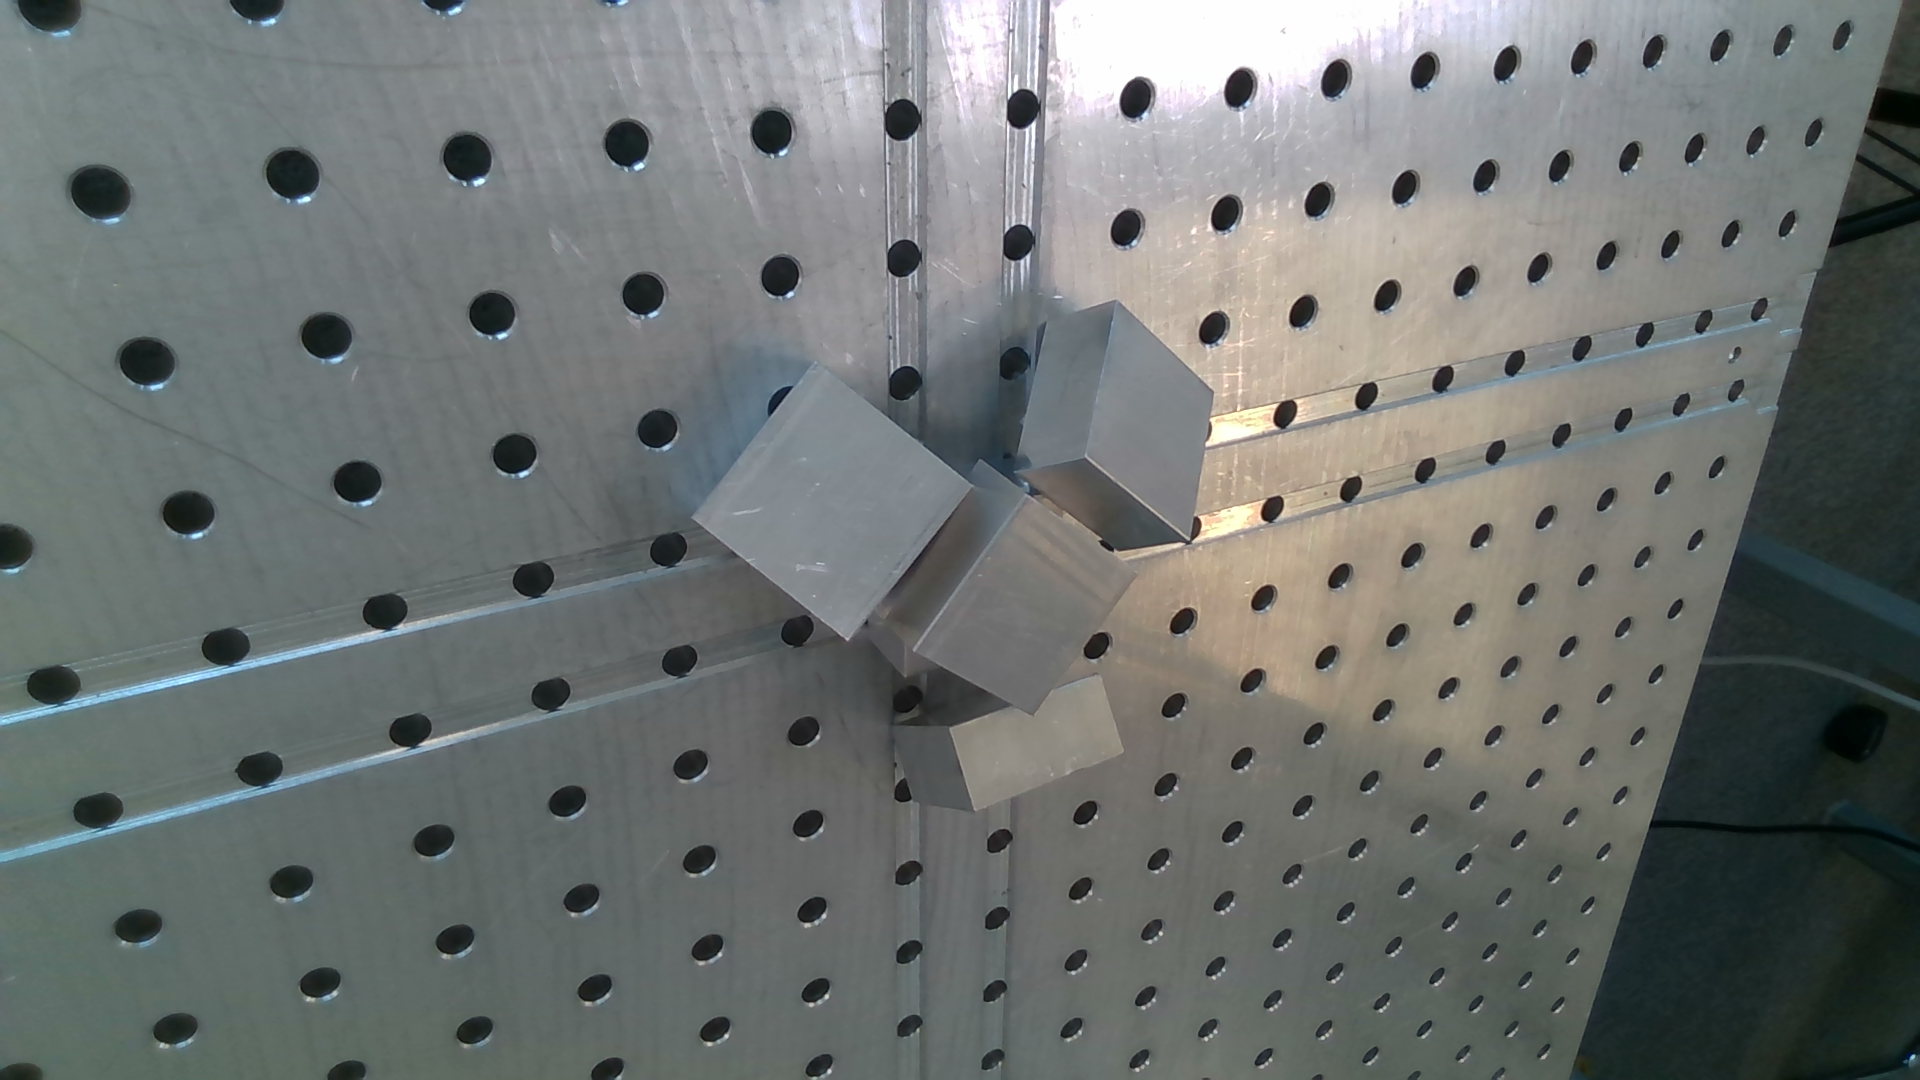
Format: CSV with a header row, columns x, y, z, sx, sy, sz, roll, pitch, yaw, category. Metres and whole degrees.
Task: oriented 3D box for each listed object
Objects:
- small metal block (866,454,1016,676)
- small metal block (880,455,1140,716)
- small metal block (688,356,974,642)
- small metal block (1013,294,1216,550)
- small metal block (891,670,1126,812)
x,y,z,sx,sy,sz,roll,pitch,yaw,category
0.000,0.006,0.396,0.050,0.025,0.050,-12,120,-23,small metal block
0.013,0.013,0.374,0.050,0.025,0.050,32,96,-39,small metal block
-0.032,-0.011,0.350,0.050,0.025,0.050,38,92,-2,small metal block
0.045,-0.032,0.386,0.050,0.025,0.050,34,59,-39,small metal block
0.013,0.059,0.412,0.050,0.050,0.025,-17,90,-23,small metal block
